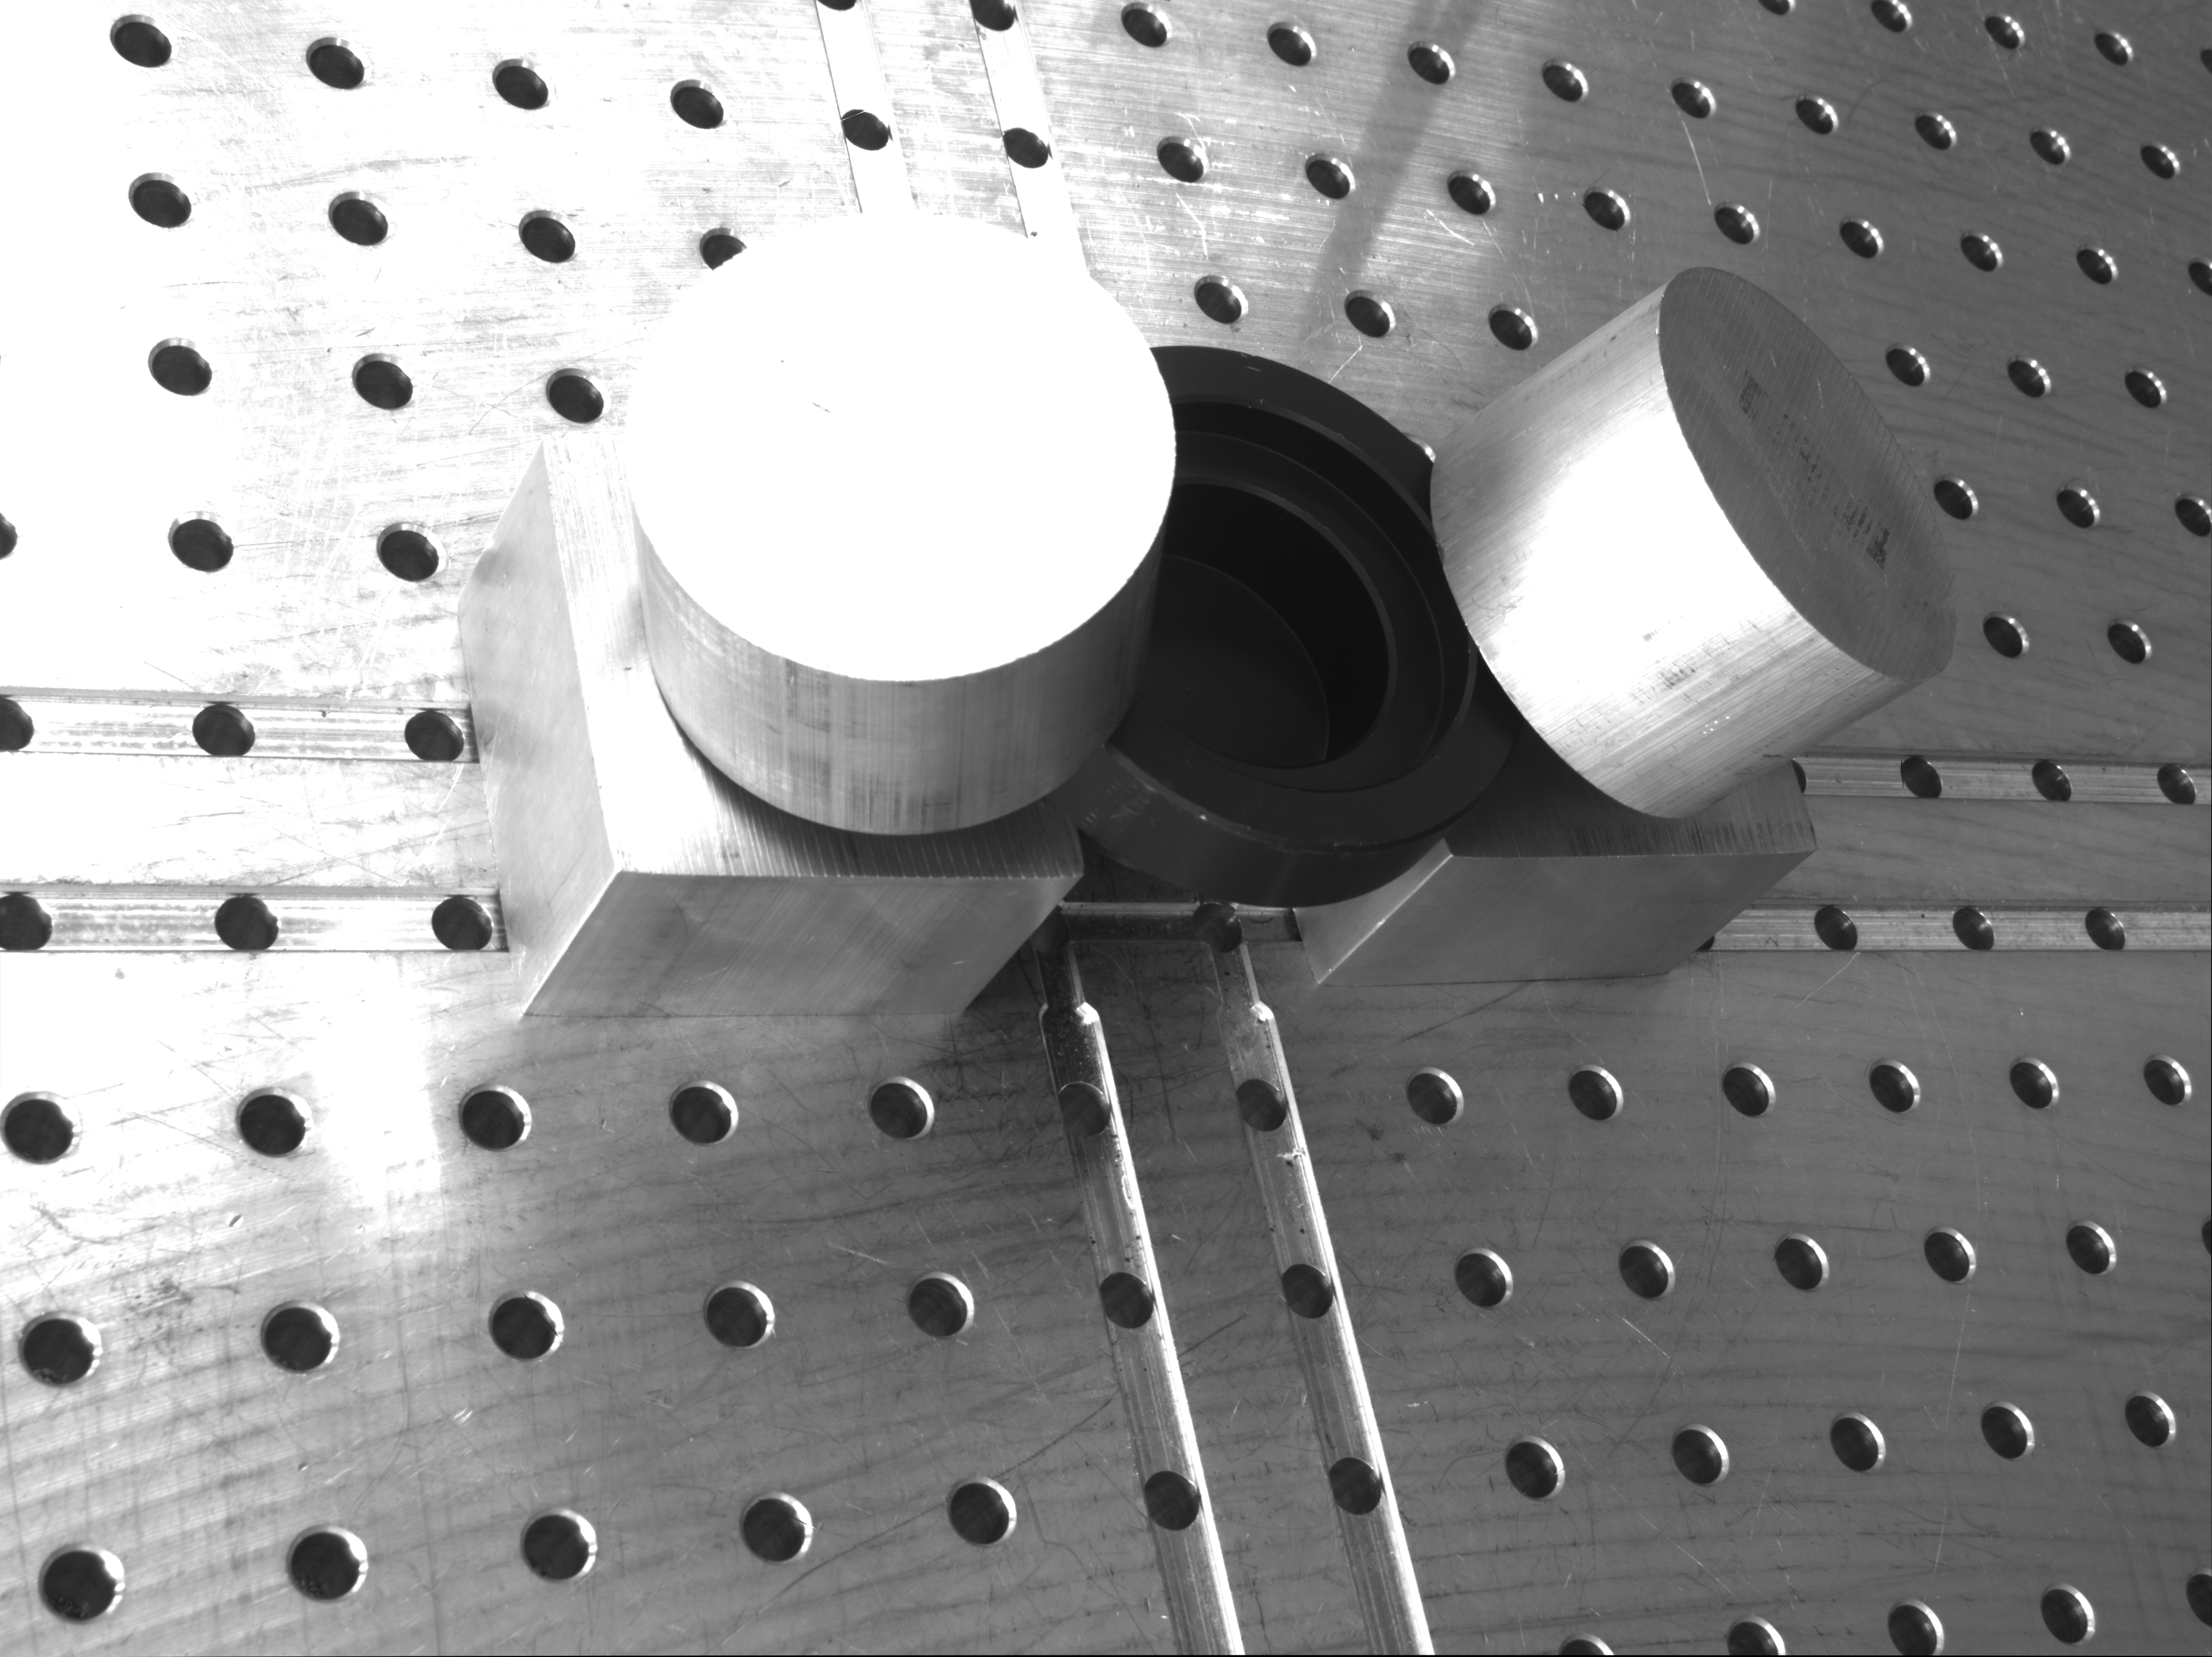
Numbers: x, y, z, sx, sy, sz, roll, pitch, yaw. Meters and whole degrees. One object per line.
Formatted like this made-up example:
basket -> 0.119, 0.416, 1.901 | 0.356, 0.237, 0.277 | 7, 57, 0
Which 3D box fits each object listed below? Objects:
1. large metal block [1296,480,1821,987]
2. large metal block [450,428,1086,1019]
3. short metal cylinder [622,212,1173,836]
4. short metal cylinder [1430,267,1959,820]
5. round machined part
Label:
large metal block -> 0.074, -0.019, 0.677 | 0.080, 0.050, 0.080 | -1, 62, -28
large metal block -> -0.057, -0.016, 0.605 | 0.080, 0.050, 0.080 | 1, 61, -28
short metal cylinder -> -0.032, -0.046, 0.556 | 0.080, 0.050, 0.080 | 2, 64, -4
short metal cylinder -> 0.101, -0.048, 0.629 | 0.080, 0.050, 0.080 | 31, 42, -32
round machined part -> 0.019, -0.030, 0.621 | 0.098, 0.042, 0.098 | 14, 56, -21
